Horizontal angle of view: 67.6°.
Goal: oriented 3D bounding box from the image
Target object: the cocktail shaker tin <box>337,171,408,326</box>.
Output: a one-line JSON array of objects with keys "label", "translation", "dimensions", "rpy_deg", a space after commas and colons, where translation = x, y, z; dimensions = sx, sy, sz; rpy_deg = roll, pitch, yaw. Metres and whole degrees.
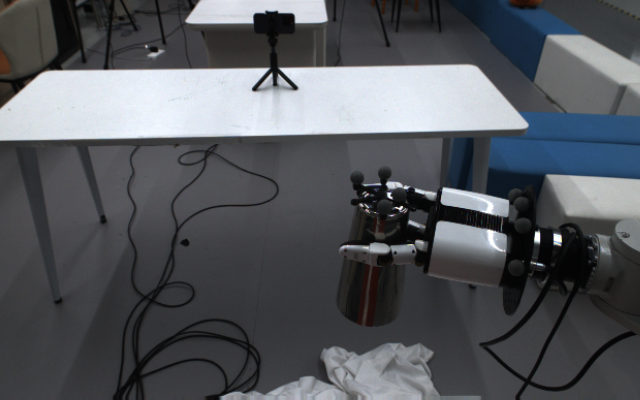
[{"label": "cocktail shaker tin", "translation": [0.076, 0.071, 0.642], "dimensions": [0.093, 0.170, 0.093], "rpy_deg": [3, 33, -2]}]
